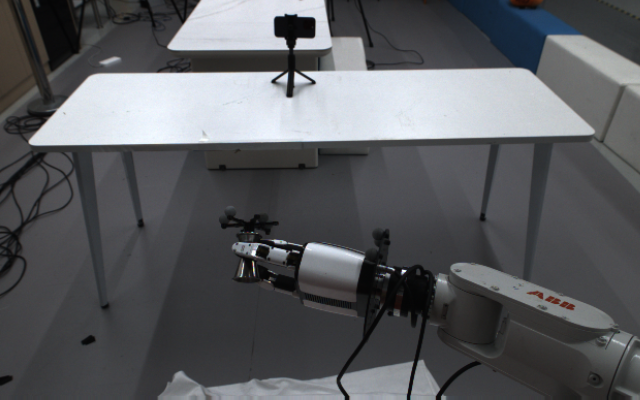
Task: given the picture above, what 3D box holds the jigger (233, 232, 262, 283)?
[{"bbox_3d":[-0.106,0.084,0.712,0.043,0.043,0.071,1,70,-2],"label":"jigger"}]
